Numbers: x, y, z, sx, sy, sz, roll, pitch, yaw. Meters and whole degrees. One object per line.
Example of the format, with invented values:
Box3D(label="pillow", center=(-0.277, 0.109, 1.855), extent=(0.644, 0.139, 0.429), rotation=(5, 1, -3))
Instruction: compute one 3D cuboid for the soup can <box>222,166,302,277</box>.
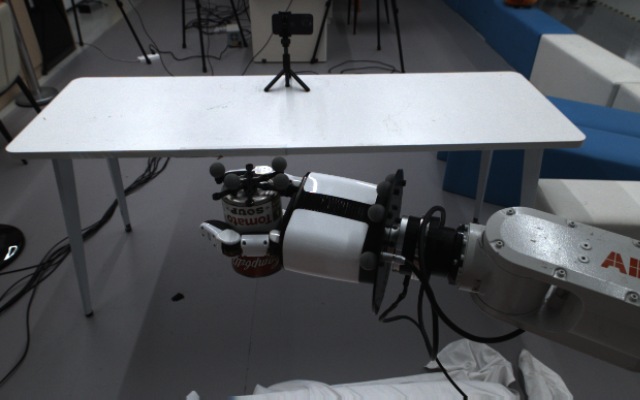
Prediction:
Box3D(label="soup can", center=(-0.072, 0.030, 0.558), extent=(0.067, 0.101, 0.067), rotation=(-2, 32, 1))
